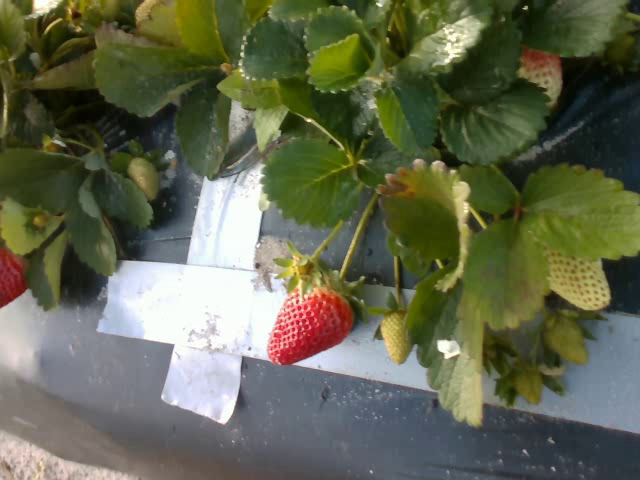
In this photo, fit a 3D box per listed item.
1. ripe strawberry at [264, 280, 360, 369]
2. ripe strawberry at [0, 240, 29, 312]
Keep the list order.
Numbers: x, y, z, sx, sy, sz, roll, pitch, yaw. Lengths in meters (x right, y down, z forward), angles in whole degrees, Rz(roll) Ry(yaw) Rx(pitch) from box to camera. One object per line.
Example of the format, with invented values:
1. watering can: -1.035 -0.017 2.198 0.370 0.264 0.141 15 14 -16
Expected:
1. ripe strawberry: -0.004 0.022 0.154 0.020 0.026 0.023 44 -10 -37
2. ripe strawberry: -0.108 0.015 0.214 0.020 0.023 0.018 22 -15 -37
